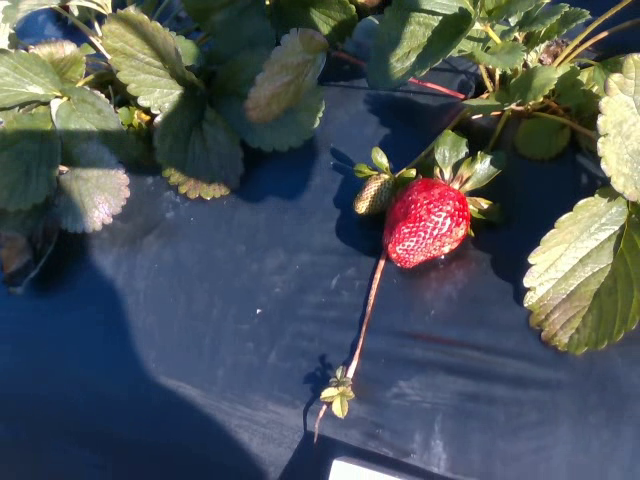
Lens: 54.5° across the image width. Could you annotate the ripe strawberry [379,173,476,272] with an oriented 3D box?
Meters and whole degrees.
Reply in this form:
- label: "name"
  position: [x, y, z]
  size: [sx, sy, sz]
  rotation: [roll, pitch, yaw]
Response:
- label: "ripe strawberry"
  position: [0.045, -0.006, 0.272]
  size: [0.041, 0.043, 0.053]
  rotation: [22, 42, 22]
